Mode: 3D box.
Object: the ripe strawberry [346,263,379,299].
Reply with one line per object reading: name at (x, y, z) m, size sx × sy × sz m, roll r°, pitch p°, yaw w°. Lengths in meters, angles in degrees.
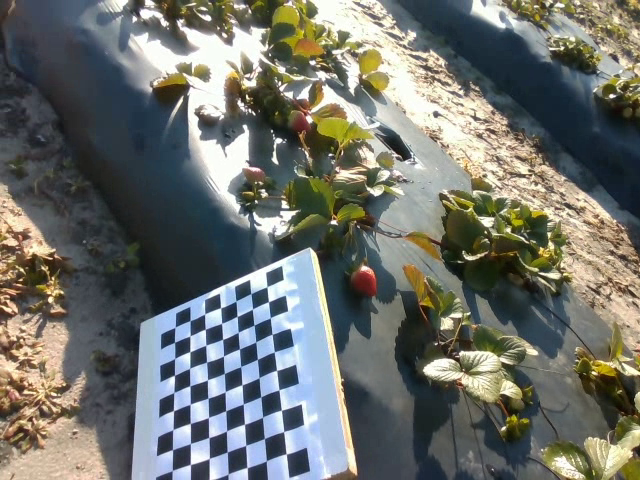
ripe strawberry at (0.069, 0.064, 0.861) m, size 0.045 × 0.063 × 0.043 m, roll -37°, pitch -41°, yaw 3°
